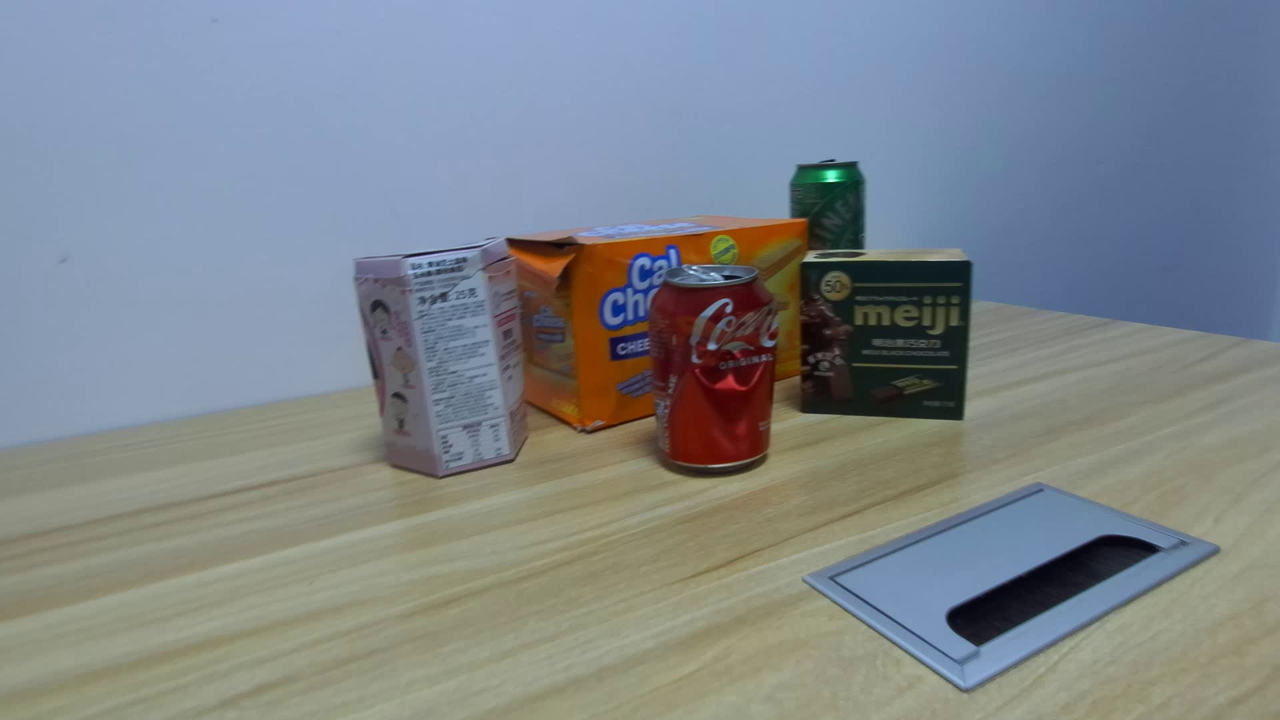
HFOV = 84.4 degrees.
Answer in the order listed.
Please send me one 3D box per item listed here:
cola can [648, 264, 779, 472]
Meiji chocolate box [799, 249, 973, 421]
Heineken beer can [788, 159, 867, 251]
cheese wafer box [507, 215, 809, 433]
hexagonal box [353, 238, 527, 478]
[{"bbox_3d":[0.042,0.004,0.415,0.067,0.117,0.065,-17,19,-40],"label":"cola can"},{"bbox_3d":[0.166,-0.019,0.488,0.109,0.109,0.056,1,16,16],"label":"Meiji chocolate box"},{"bbox_3d":[0.170,-0.090,0.640,0.067,0.169,0.067,-3,10,1],"label":"Heineken beer can"},{"bbox_3d":[0.008,-0.045,0.574,0.228,0.137,0.149,-13,18,-32],"label":"cheese wafer box"},{"bbox_3d":[-0.120,-0.004,0.446,0.085,0.135,0.092,-3,15,5],"label":"hexagonal box"}]
